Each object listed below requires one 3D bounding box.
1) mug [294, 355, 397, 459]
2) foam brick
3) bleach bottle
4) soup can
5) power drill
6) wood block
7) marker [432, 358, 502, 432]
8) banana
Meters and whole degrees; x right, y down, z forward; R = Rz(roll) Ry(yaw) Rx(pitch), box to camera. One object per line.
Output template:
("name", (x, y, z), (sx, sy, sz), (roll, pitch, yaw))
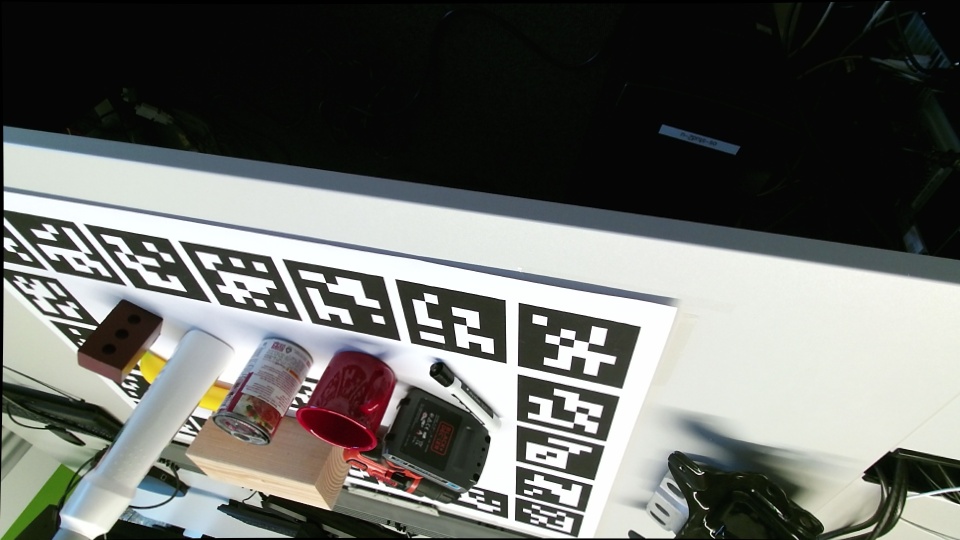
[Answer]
("mug", (-0.134, 0.144, 0.585), (0.093, 0.081, 0.117), (41, 131, -18))
("foam brick", (-0.436, 0.085, 0.646), (0.053, 0.078, 0.051), (31, 139, -15))
("bleach bottle", (-0.380, 0.191, 0.603), (0.068, 0.250, 0.103), (29, 138, -10))
("soup can", (-0.243, 0.141, 0.601), (0.068, 0.101, 0.068), (13, 141, 10))
("power drill", (-0.077, 0.241, 0.692), (0.185, 0.057, 0.187), (31, 138, -7))
("wood block", (-0.306, 0.276, 0.785), (0.207, 0.090, 0.090), (8, 135, 13))
("marker", (-0.014, 0.136, 0.582), (0.020, 0.019, 0.121), (-17, 126, 31))
("banana", (-0.383, 0.186, 0.753), (0.198, 0.039, 0.074), (21, 124, 2))
